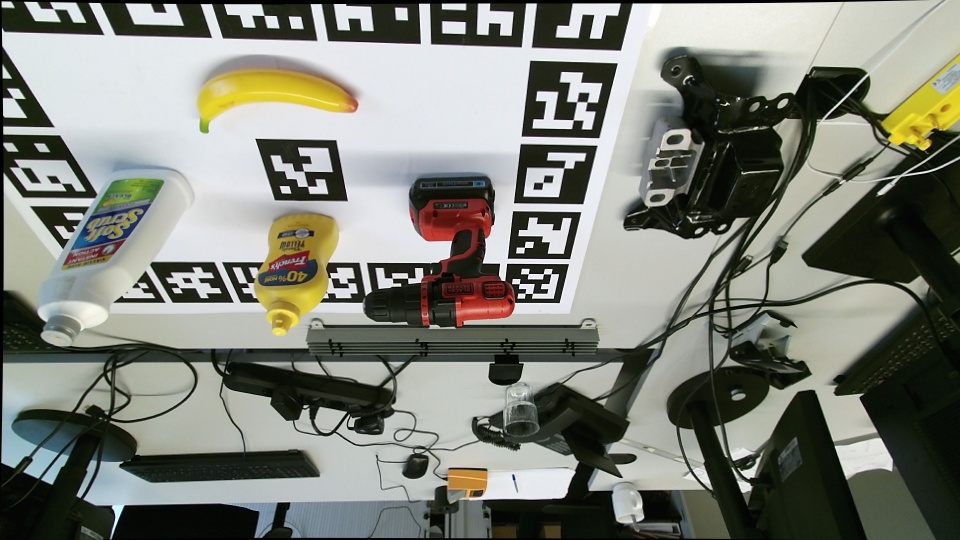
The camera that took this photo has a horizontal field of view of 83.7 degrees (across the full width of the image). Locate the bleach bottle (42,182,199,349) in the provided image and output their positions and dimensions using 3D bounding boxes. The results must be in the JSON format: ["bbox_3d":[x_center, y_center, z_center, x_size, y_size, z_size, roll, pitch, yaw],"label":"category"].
[{"bbox_3d":[-0.447,-0.010,0.667,0.103,0.249,0.068,6,134,-8],"label":"bleach bottle"}]

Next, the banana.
[{"bbox_3d":[-0.249,-0.183,0.639,0.198,0.038,0.074,-5,133,-1],"label":"banana"}]

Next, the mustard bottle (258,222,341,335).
[{"bbox_3d":[-0.259,0.014,0.744,0.096,0.190,0.058,-4,135,4],"label":"mustard bottle"}]

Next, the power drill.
[{"bbox_3d":[-0.067,0.004,0.698,0.185,0.186,0.057,-6,135,-2],"label":"power drill"}]
